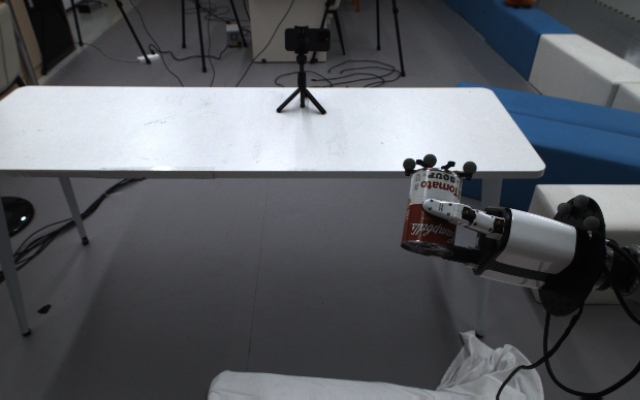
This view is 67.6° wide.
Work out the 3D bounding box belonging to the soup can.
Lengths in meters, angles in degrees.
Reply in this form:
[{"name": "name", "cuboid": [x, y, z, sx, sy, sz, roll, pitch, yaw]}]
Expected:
[{"name": "soup can", "cuboid": [0.149, 0.015, 0.635, 0.067, 0.067, 0.101, 9, 74, 9]}]
